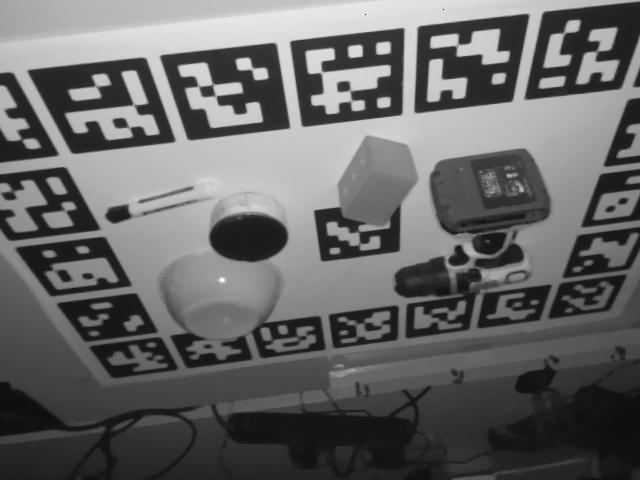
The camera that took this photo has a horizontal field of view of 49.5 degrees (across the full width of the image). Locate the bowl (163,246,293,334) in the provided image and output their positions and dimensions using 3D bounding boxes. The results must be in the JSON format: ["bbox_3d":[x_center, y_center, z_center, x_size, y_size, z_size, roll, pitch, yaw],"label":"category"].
[{"bbox_3d":[-0.110,0.071,0.855,0.162,0.055,0.160,-8,147,-4],"label":"bowl"}]

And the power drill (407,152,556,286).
[{"bbox_3d":[0.190,-0.013,0.792,0.184,0.058,0.186,-6,142,4],"label":"power drill"}]

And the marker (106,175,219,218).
[{"bbox_3d":[-0.165,-0.044,0.721,0.120,0.020,0.019,-14,138,8],"label":"marker"}]

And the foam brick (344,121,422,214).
[{"bbox_3d":[0.063,-0.073,0.709,0.052,0.053,0.077,10,136,-16],"label":"foam brick"}]

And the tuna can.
[{"bbox_3d":[-0.074,-0.018,0.757,0.086,0.034,0.085,-3,140,-2],"label":"tuna can"}]
